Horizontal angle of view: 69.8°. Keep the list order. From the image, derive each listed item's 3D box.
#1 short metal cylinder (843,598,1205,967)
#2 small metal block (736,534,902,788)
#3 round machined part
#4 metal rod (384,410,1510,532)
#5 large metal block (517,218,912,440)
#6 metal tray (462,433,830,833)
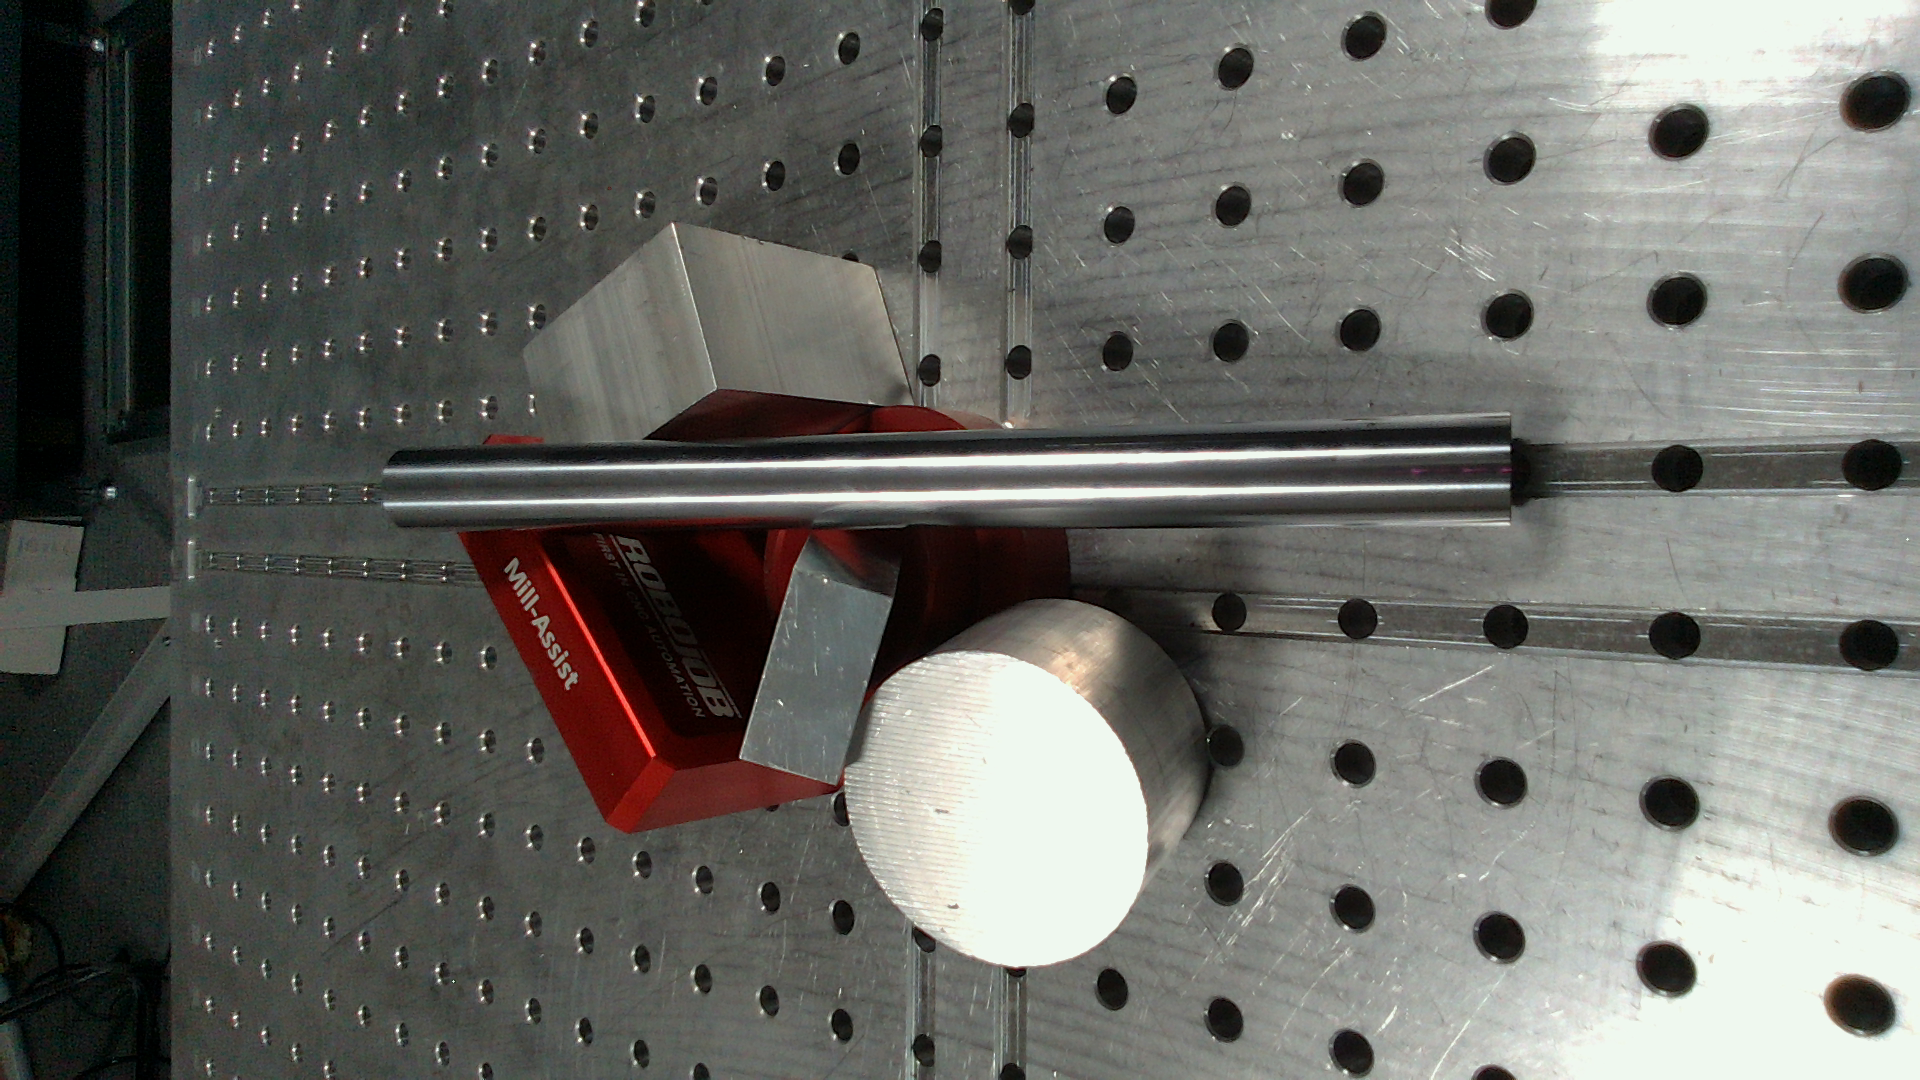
[{"bbox_3d":[0.017,0.060,0.351,0.080,0.050,0.080,6,105,24],"label":"short metal cylinder"},{"bbox_3d":[-0.035,0.028,0.354,0.025,0.050,0.050,17,102,-4],"label":"small metal block"},{"bbox_3d":[-0.018,0.009,0.405,0.098,0.042,0.098,0,90,40],"label":"round machined part"},{"bbox_3d":[-0.020,-0.015,0.352,0.299,0.025,0.025,0,90,21],"label":"metal rod"},{"bbox_3d":[-0.075,-0.050,0.423,0.080,0.080,0.050,-27,73,37],"label":"large metal block"},{"bbox_3d":[-0.092,0.024,0.432,0.030,0.090,0.130,-51,60,28],"label":"metal tray"}]
